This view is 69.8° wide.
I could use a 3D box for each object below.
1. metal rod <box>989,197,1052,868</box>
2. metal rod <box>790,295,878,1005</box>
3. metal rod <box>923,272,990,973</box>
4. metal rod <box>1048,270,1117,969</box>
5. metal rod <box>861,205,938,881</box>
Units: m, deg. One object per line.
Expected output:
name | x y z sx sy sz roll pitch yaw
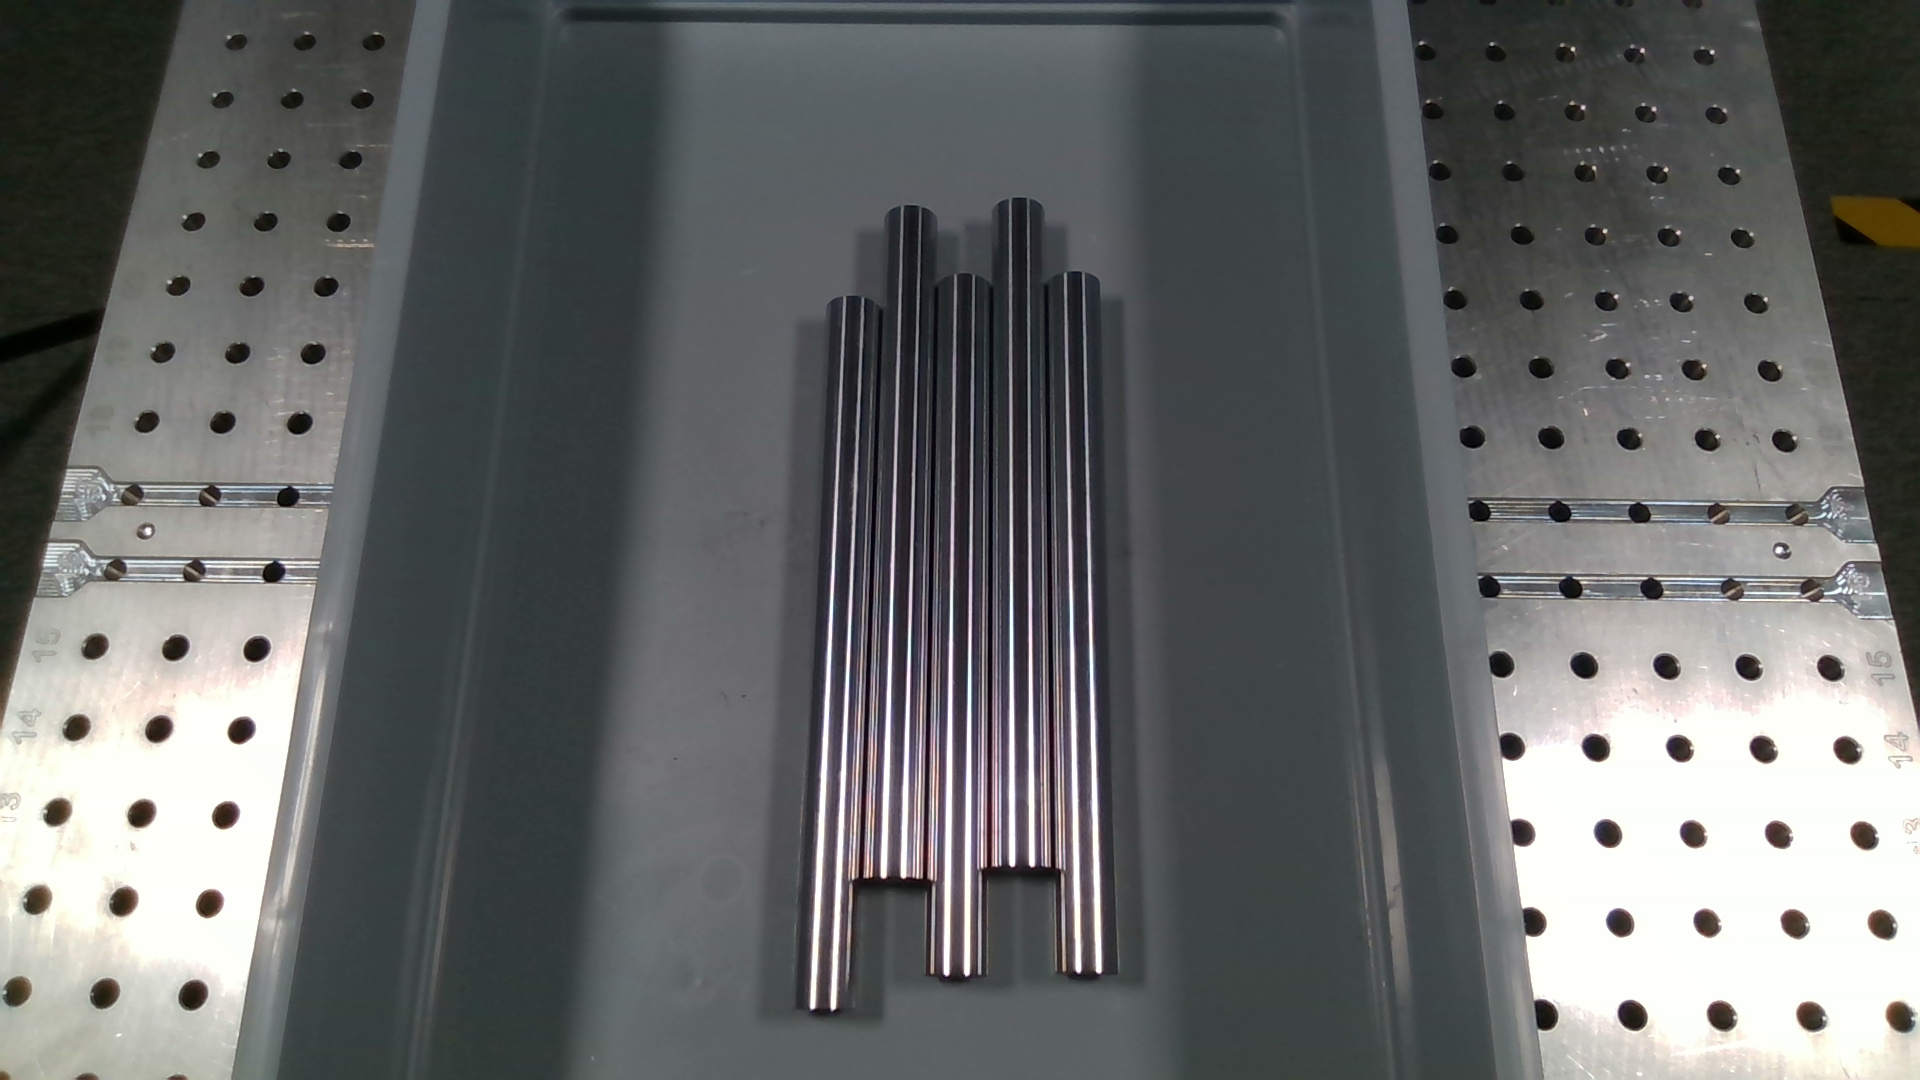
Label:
metal rod | 0.025 -0.012 0.591 0.025 0.025 0.299 1 70 0
metal rod | -0.050 0.036 0.574 0.025 0.025 0.299 1 70 0
metal rod | 0.000 0.025 0.578 0.025 0.025 0.299 1 70 0
metal rod | 0.050 0.024 0.579 0.025 0.025 0.299 1 70 0
metal rod | -0.025 -0.008 0.590 0.025 0.025 0.299 1 70 0
